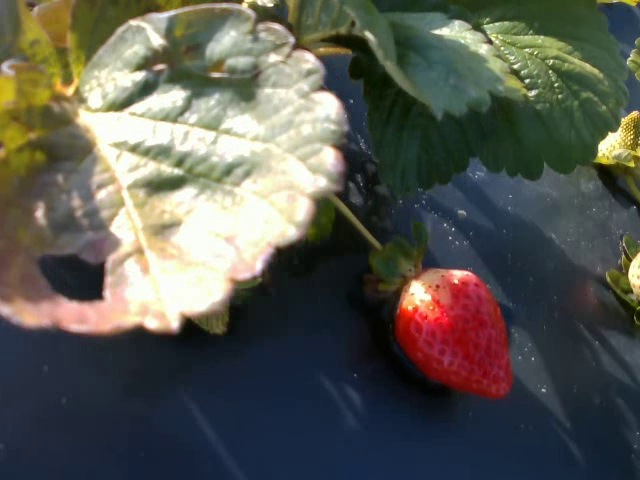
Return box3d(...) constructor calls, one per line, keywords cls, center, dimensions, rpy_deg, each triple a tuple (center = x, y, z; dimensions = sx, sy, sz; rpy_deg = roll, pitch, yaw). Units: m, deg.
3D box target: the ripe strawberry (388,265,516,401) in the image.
box3d(cls="ripe strawberry", center=(0.039, 0.027, 0.162), dimensions=(0.030, 0.045, 0.033), rpy_deg=(-32, -17, 1))
